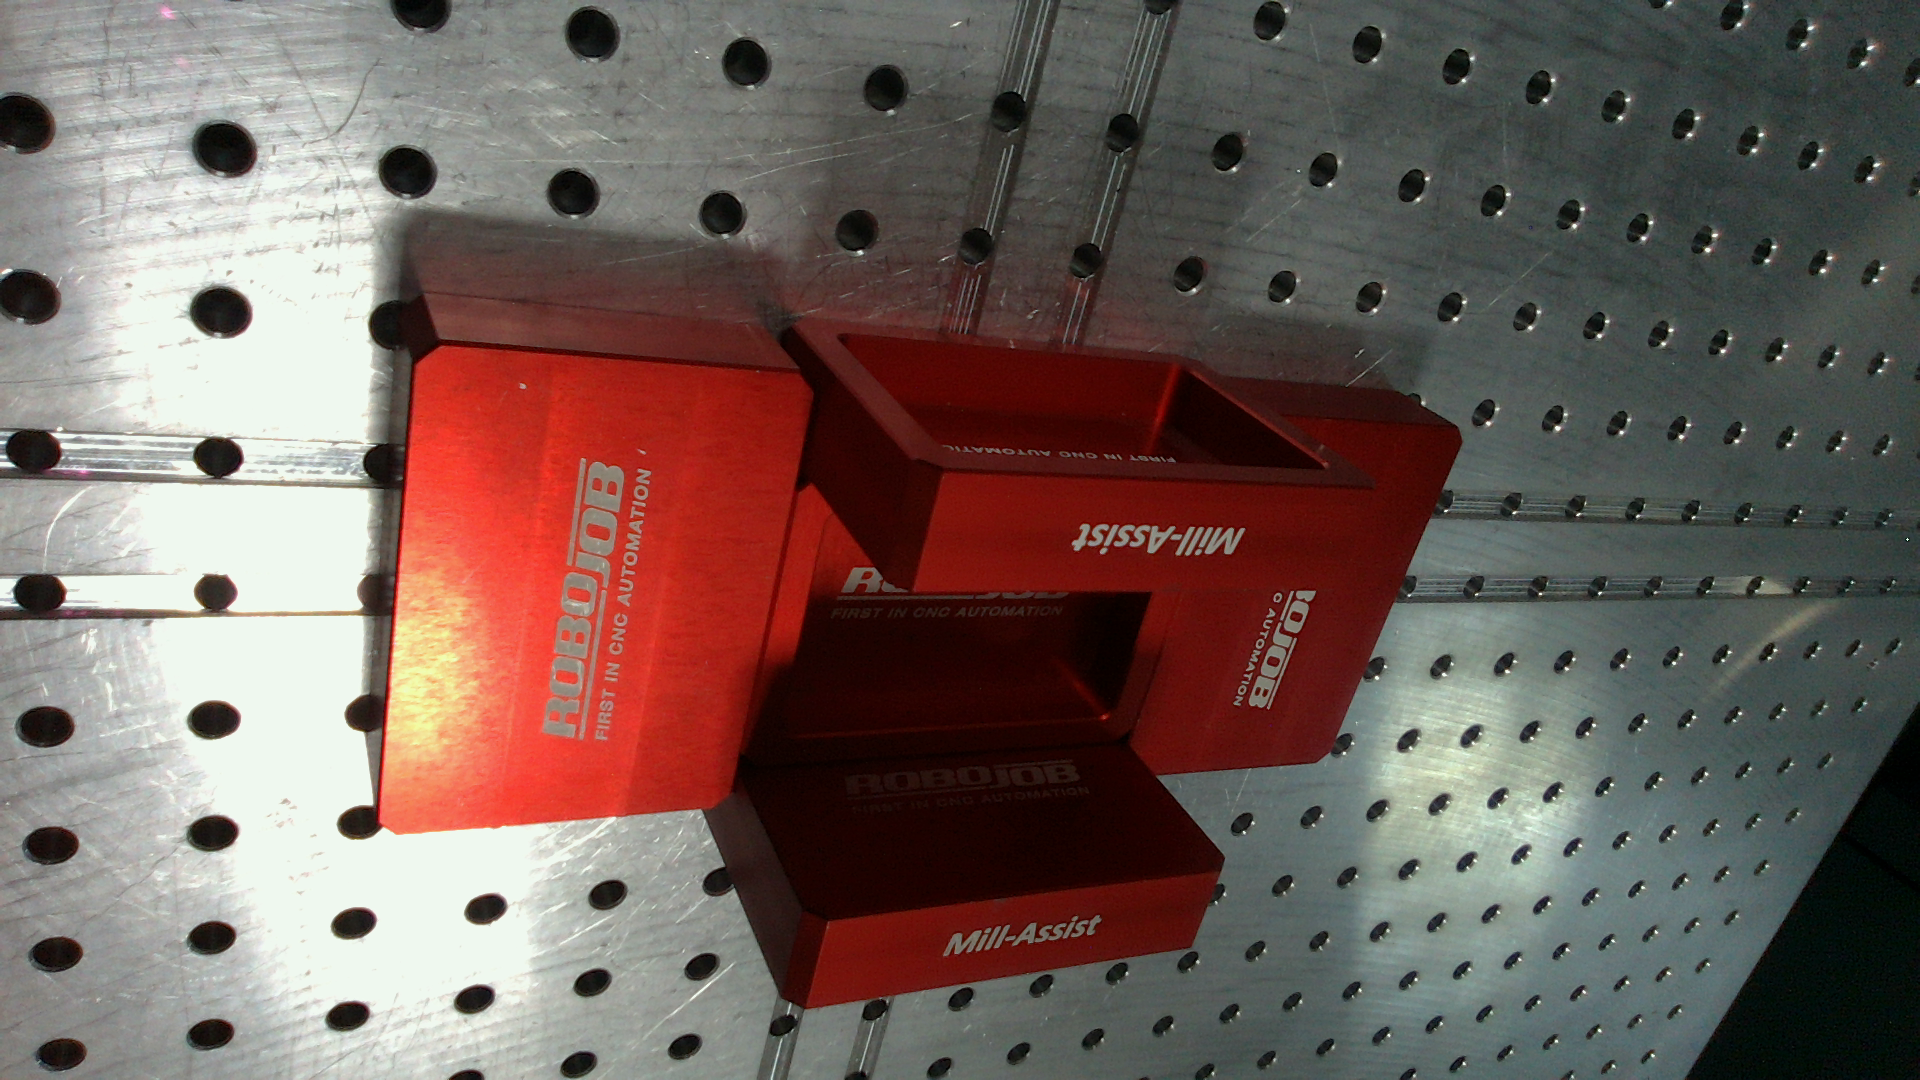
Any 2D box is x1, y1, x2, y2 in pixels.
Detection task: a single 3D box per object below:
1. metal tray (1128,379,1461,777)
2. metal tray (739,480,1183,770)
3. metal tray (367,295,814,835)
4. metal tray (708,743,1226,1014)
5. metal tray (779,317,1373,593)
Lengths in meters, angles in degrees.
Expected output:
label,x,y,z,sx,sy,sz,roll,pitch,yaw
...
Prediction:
label,x,y,z,sx,sy,sz,roll,pitch,yaw
metal tray,0.099,0.015,0.449,0.090,0.030,0.130,0,118,-30
metal tray,0.002,0.017,0.398,0.130,0.030,0.090,1,118,-29
metal tray,-0.095,0.010,0.343,0.090,0.030,0.130,1,118,-29
metal tray,0.000,0.085,0.400,0.130,0.090,0.030,1,118,-29
metal tray,0.027,-0.022,0.352,0.130,0.090,0.030,1,118,-29
